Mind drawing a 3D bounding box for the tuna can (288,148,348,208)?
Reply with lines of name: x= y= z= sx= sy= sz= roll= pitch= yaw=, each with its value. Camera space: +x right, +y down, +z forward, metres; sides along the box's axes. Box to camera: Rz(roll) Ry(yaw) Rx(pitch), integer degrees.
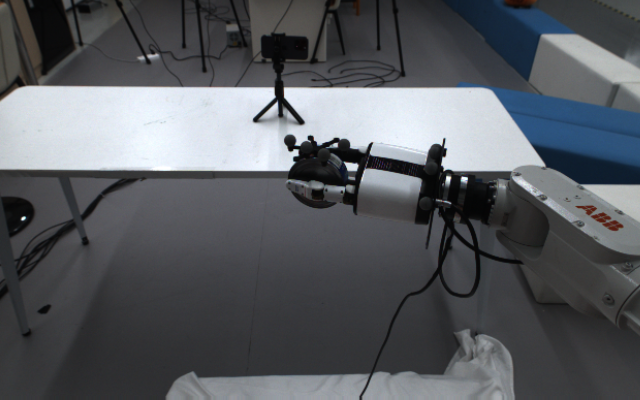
tuna can: x=-0.001 y=-0.033 z=0.716 sx=0.085 sy=0.085 sz=0.034 roll=11 pitch=34 yaw=12
